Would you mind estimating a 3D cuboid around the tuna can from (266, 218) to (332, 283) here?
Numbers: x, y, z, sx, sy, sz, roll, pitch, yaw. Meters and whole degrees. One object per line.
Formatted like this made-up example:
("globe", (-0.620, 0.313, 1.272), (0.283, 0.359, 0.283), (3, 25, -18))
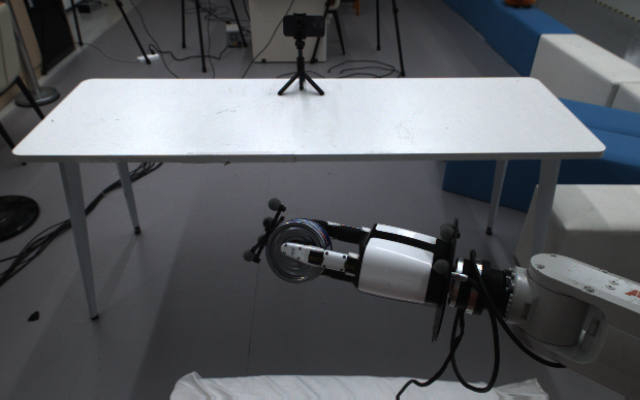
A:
("tuna can", (-0.025, 0.071, 0.649), (0.085, 0.085, 0.034), (8, 5, 9))
